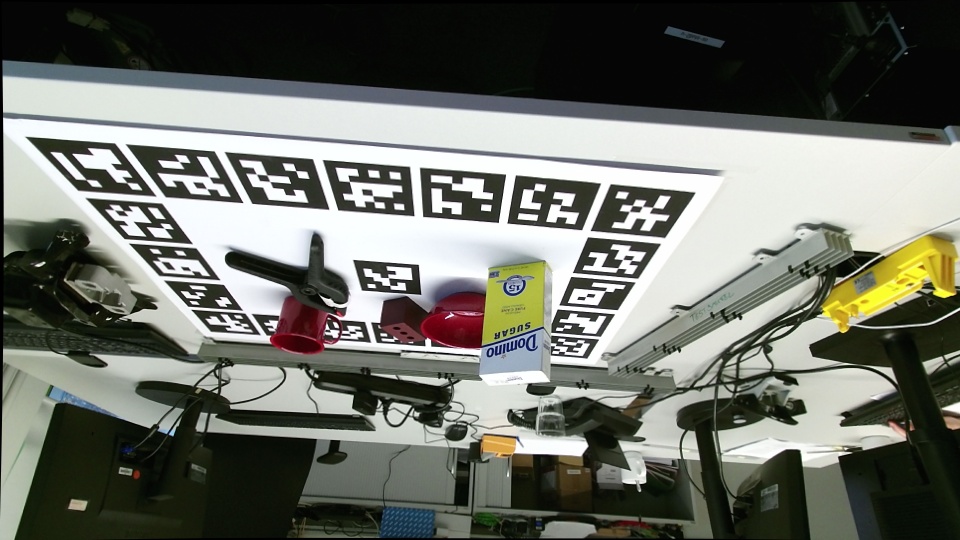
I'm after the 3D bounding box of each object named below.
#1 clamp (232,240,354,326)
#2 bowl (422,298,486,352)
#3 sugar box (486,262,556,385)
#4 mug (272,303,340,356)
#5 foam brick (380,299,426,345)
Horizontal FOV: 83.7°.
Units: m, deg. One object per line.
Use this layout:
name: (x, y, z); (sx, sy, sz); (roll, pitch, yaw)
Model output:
clamp: (-0.266, 0.031, 0.862); (0.166, 0.036, 0.203); (-11, 143, 17)
bowl: (-0.017, 0.095, 0.928); (0.162, 0.055, 0.162); (3, 146, 2)
sugar box: (0.062, 0.076, 0.786); (0.093, 0.175, 0.045); (-9, 142, 20)
mug: (-0.307, 0.115, 0.957); (0.117, 0.081, 0.093); (22, 142, -20)
foam brick: (-0.135, 0.095, 0.953); (0.053, 0.051, 0.078); (-13, 142, 21)
